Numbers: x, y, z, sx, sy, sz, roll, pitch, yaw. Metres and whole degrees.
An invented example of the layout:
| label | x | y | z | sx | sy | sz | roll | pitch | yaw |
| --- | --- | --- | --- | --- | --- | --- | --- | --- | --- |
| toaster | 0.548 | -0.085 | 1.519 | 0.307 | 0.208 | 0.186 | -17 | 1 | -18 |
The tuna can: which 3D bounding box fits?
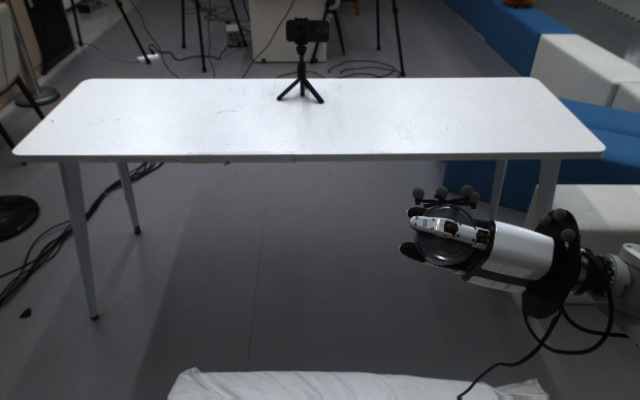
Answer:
| label | x | y | z | sx | sy | sz | roll | pitch | yaw |
| --- | --- | --- | --- | --- | --- | --- | --- | --- | --- |
| tuna can | 0.180 | 0.049 | 0.690 | 0.085 | 0.034 | 0.085 | 0 | 75 | 1 |
